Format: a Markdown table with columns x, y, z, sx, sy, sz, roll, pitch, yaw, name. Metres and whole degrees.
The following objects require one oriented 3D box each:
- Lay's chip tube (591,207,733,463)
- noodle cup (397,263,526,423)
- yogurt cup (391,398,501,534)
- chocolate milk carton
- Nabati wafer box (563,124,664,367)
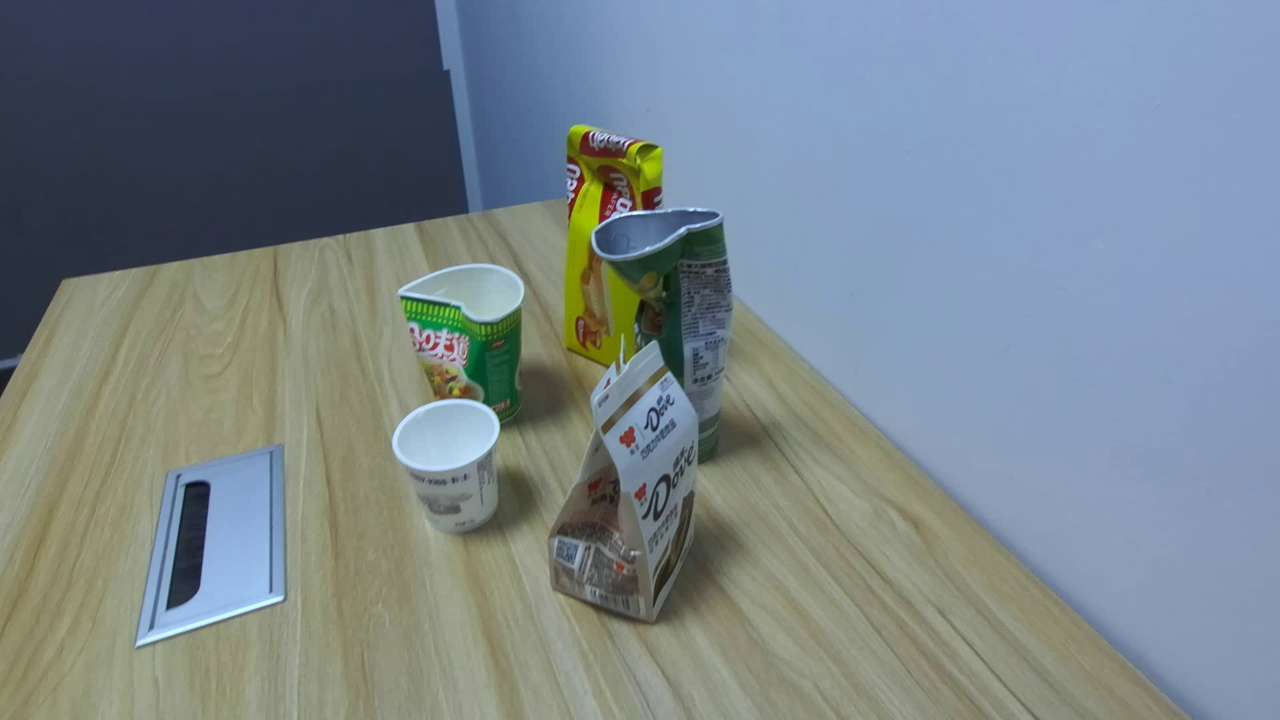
| x | y | z | sx | sy | sz | roll | pitch | yaw | name |
| --- | --- | --- | --- | --- | --- | --- | --- | --- | --- |
| 0.021 | -0.015 | 0.505 | 0.071 | 0.200 | 0.078 | -27 | 42 | -21 | Lay's chip tube |
| -0.131 | -0.007 | 0.572 | 0.087 | 0.109 | 0.093 | -24 | 40 | -30 | noodle cup |
| -0.129 | 0.077 | 0.491 | 0.072 | 0.068 | 0.072 | -1 | 35 | 1 | yogurt cup |
| -0.011 | 0.071 | 0.419 | 0.073 | 0.155 | 0.084 | 13 | 37 | 20 | chocolate milk carton |
| -0.024 | -0.088 | 0.604 | 0.113 | 0.205 | 0.043 | 23 | 38 | 34 | Nabati wafer box |
